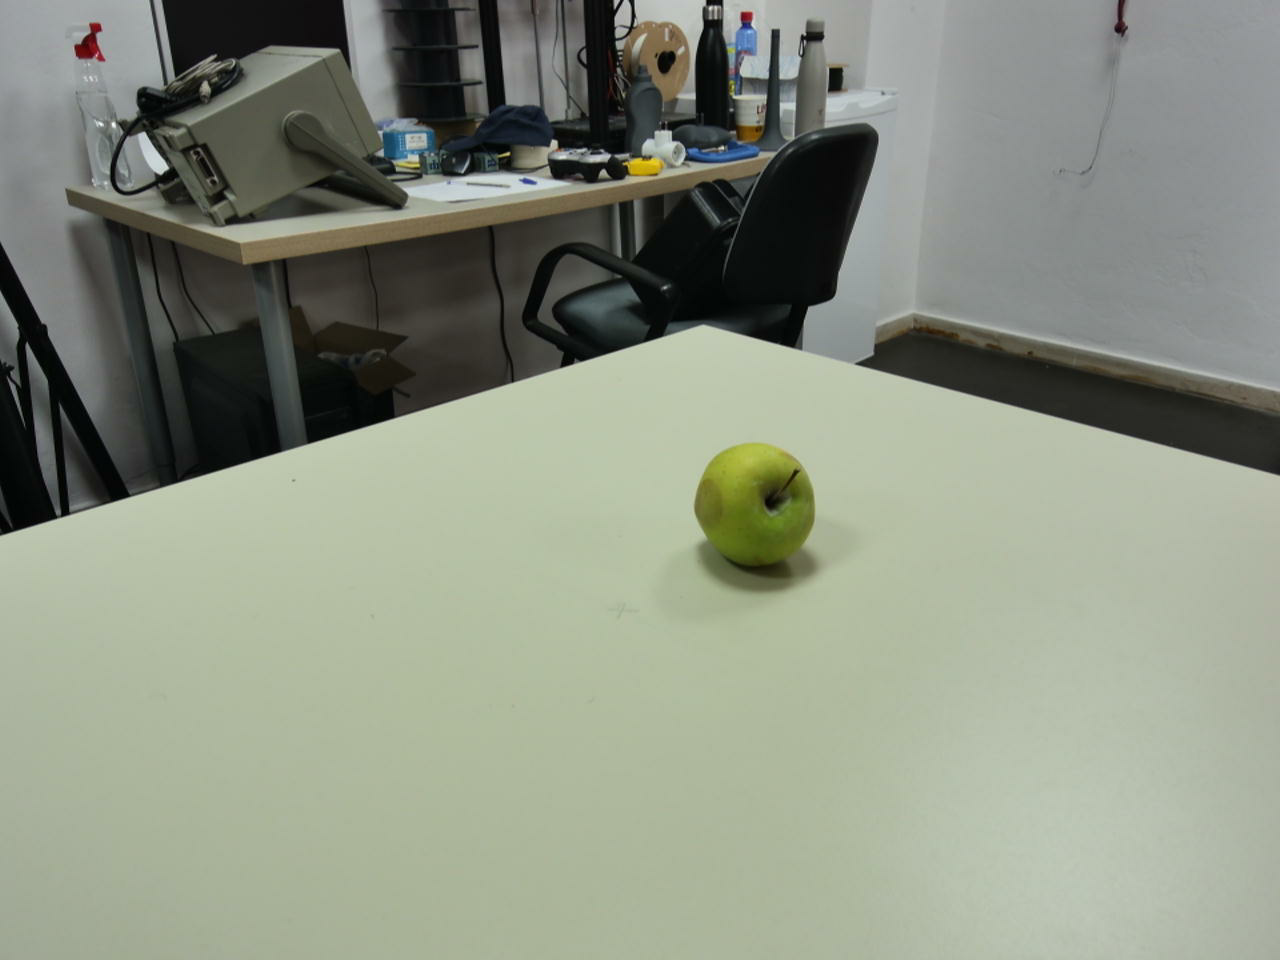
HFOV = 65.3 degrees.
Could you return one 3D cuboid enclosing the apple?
[{"bbox_3d":[0.070,0.014,0.612,0.072,0.075,0.077,1,24,1],"label":"apple"}]
